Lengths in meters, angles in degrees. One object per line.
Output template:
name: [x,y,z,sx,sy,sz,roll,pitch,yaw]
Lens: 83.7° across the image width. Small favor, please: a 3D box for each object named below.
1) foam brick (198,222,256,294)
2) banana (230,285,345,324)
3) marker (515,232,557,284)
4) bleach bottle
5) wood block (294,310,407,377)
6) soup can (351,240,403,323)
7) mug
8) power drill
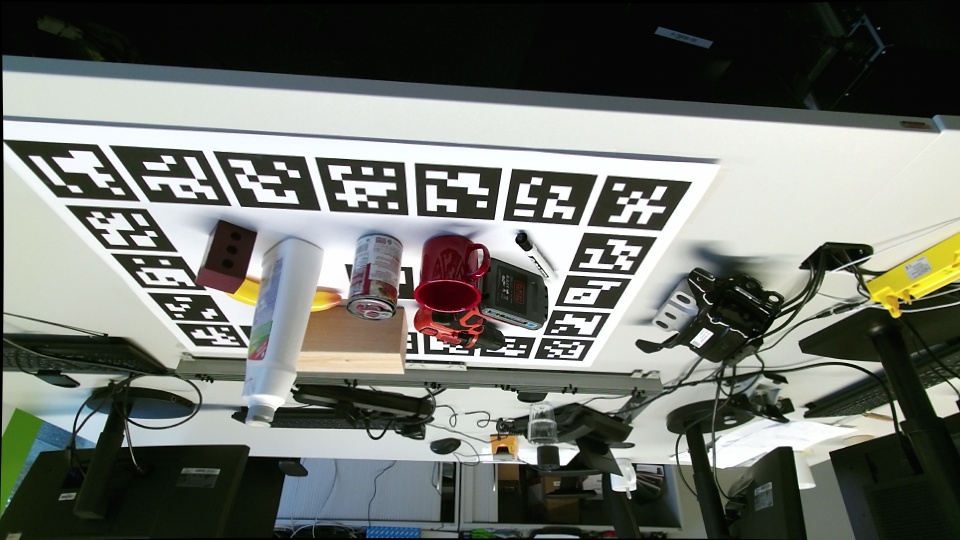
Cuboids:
foam brick: [-0.347,-0.015,0.730,0.053,0.077,0.051,22,143,-32]
banana: [-0.312,0.056,0.865,0.198,0.038,0.074,13,131,-14]
marker: [0.081,-0.017,0.772,0.020,0.019,0.121,-17,142,21]
bleach bottle: [-0.272,0.086,0.724,0.068,0.249,0.103,20,143,-27]
wood block: [-0.237,0.127,0.931,0.207,0.090,0.090,2,145,-2]
soup can: [-0.144,0.018,0.741,0.068,0.101,0.068,2,150,1]
mug: [-0.035,0.008,0.751,0.117,0.081,0.093,-30,134,33]
power drill: [0.003,0.075,0.885,0.185,0.057,0.187,23,142,-24]
